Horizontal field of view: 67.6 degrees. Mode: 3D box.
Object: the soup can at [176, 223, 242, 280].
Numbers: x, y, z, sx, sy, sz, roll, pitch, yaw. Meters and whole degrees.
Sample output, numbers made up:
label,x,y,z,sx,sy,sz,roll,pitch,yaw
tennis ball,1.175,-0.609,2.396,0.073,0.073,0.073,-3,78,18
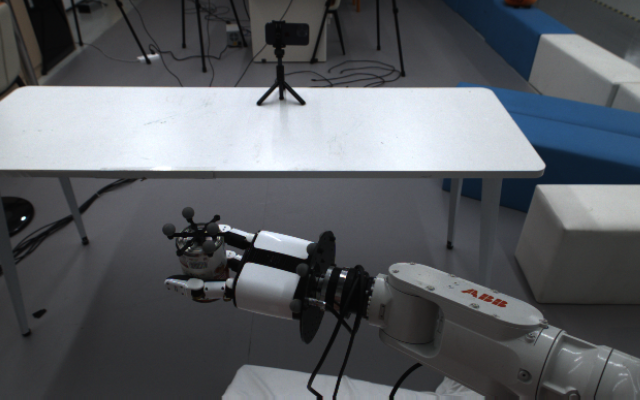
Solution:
label,x,y,z,sx,sy,sz,roll,pitch,yaw
soup can,-0.167,0.094,0.706,0.067,0.101,0.067,1,39,-1
